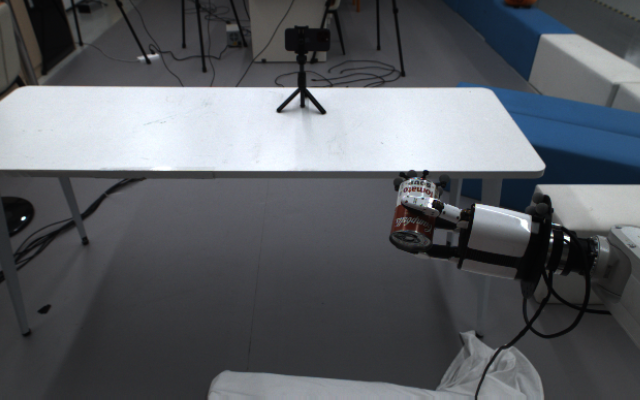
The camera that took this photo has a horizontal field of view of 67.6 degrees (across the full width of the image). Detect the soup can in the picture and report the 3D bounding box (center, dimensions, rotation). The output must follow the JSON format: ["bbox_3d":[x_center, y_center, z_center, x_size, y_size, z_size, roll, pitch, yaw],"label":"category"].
[{"bbox_3d":[0.154,0.021,0.780,0.067,0.067,0.101,9,61,10],"label":"soup can"}]
